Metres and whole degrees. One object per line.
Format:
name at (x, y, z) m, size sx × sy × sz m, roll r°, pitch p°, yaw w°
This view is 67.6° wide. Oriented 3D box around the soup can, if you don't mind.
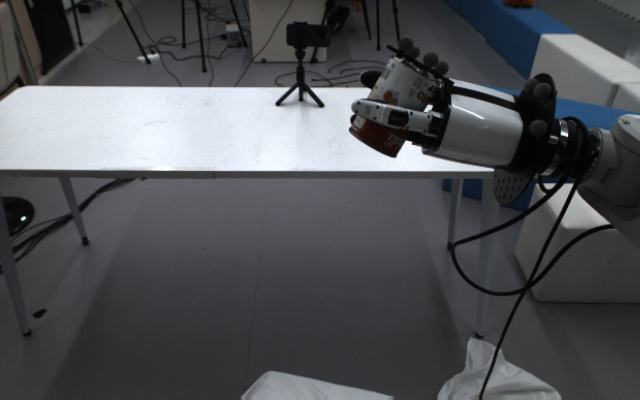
soup can at (0.089, -0.111, 0.576) m, size 0.067 × 0.101 × 0.067 m, roll 27°, pitch 18°, yaw -9°
